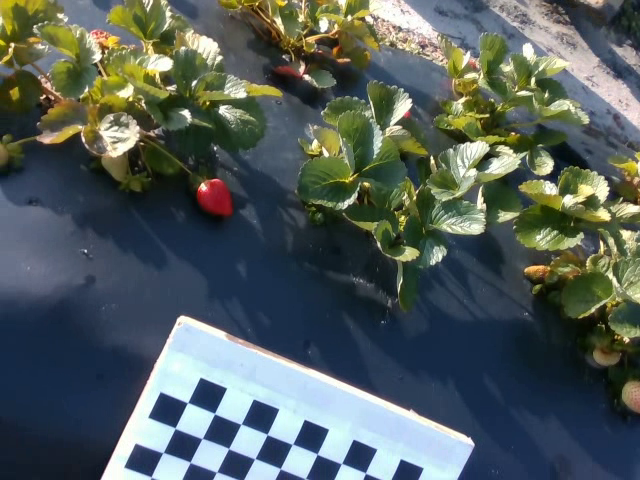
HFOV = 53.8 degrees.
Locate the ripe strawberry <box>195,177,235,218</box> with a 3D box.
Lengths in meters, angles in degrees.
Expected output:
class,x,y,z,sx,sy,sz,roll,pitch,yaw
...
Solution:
class,x,y,z,sx,sy,sz,roll,pitch,yaw
ripe strawberry,-0.087,-0.033,0.530,0.030,0.045,0.033,-35,-22,-1
